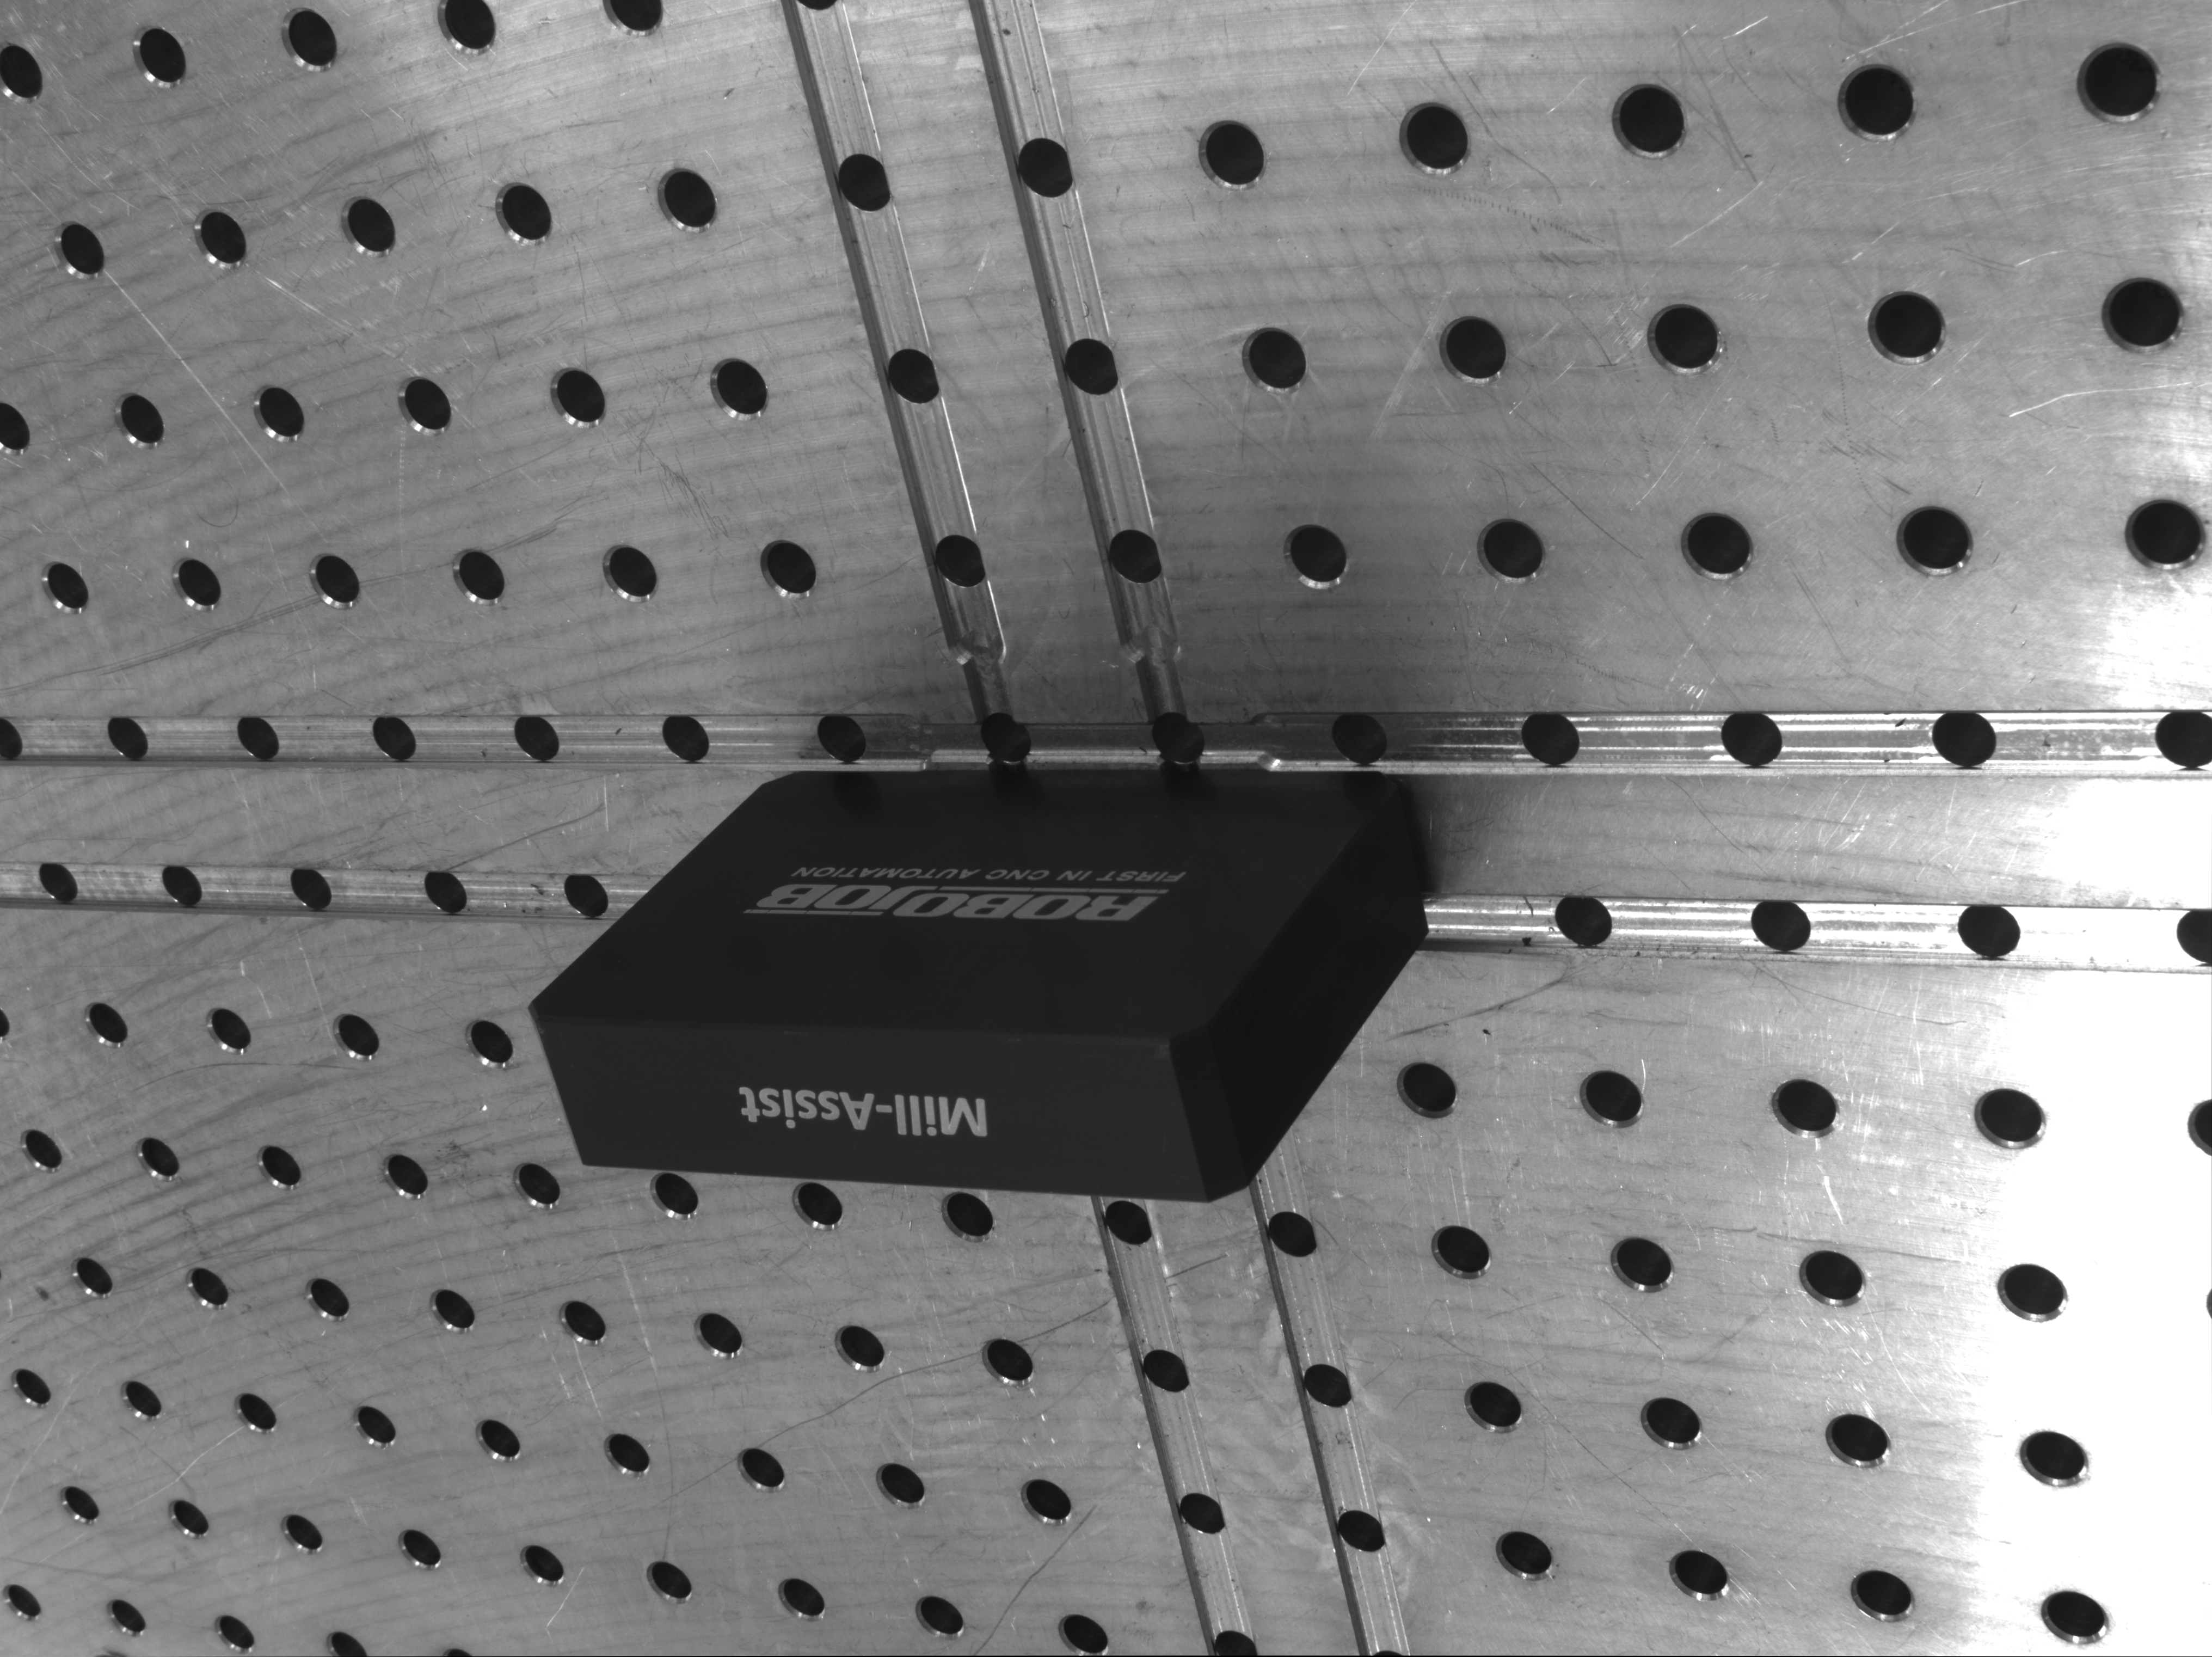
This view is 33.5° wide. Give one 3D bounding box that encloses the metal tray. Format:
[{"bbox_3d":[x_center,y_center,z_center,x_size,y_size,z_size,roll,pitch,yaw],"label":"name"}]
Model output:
[{"bbox_3d":[-0.021,0.024,0.630,0.130,0.090,0.030,0,118,28],"label":"metal tray"}]
